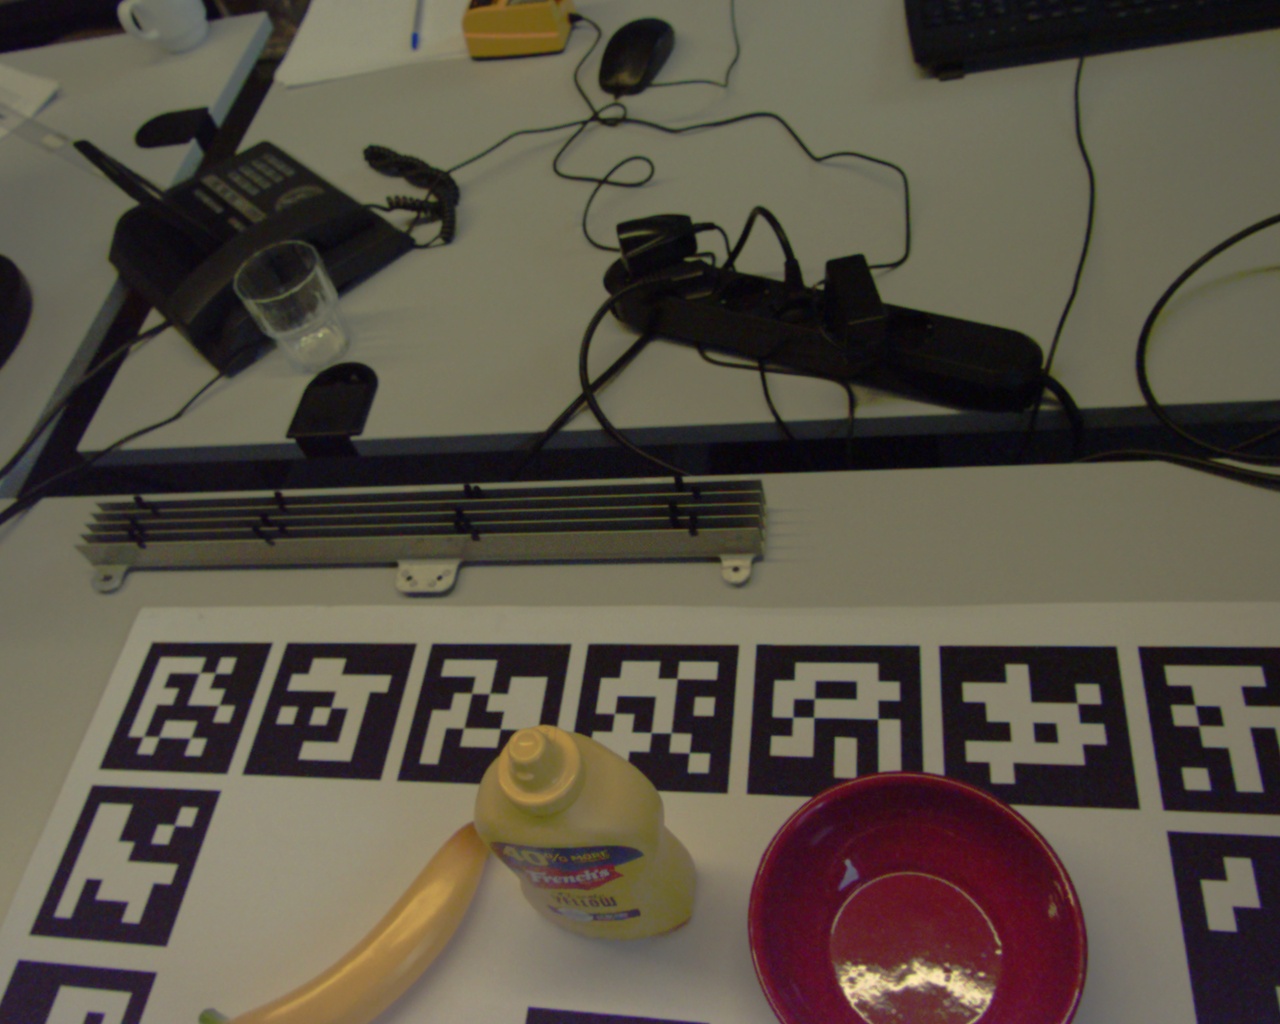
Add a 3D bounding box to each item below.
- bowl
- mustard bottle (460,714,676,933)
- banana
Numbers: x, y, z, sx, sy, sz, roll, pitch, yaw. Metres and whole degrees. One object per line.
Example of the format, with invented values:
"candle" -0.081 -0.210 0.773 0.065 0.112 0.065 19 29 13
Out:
"bowl" 0.137 0.222 0.615 0.162 0.055 0.162 -9 50 10
"mustard bottle" -0.043 0.163 0.607 0.097 0.190 0.058 -1 50 14
"banana" -0.173 0.252 0.688 0.196 0.038 0.075 -39 43 -15
